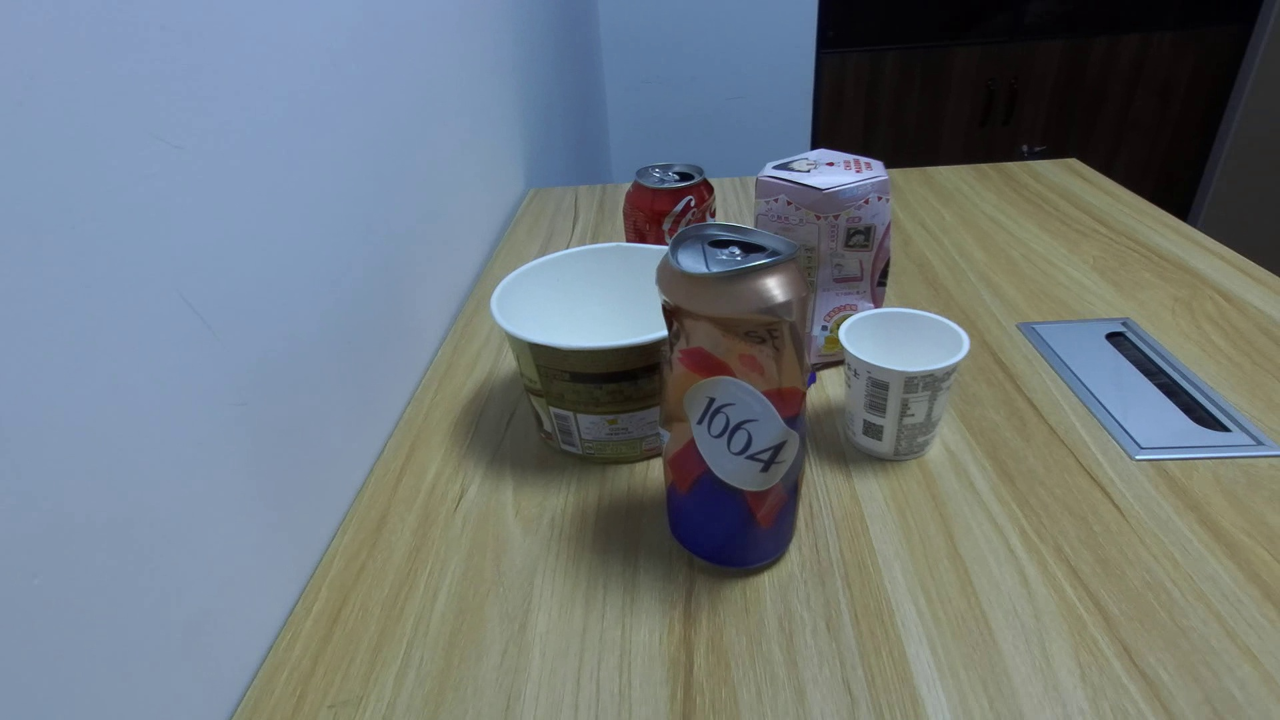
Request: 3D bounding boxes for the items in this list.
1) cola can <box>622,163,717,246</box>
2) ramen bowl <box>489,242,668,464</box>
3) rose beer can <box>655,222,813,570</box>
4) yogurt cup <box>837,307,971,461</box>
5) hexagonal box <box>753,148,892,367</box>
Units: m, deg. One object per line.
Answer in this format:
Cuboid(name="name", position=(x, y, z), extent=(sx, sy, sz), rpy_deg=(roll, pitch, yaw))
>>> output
Cuboid(name="cola can", position=(0.025, -0.095, 0.566), extent=(0.065, 0.117, 0.066), rpy_deg=(13, 36, 27))
Cuboid(name="ramen bowl", position=(-0.014, -0.004, 0.444), extent=(0.140, 0.095, 0.140), rpy_deg=(-4, 31, 3))
Cuboid(name="rose beer can", position=(0.044, 0.022, 0.330), extent=(0.073, 0.162, 0.068), rpy_deg=(4, 29, 13))
Cuboid(name="yogurt cup", position=(0.149, 0.016, 0.411), extent=(0.072, 0.068, 0.072), rpy_deg=(-4, 32, 3))
Cuboid(name="hexagonal box", position=(0.123, -0.068, 0.490), extent=(0.093, 0.135, 0.088), rpy_deg=(-17, 34, -20))
